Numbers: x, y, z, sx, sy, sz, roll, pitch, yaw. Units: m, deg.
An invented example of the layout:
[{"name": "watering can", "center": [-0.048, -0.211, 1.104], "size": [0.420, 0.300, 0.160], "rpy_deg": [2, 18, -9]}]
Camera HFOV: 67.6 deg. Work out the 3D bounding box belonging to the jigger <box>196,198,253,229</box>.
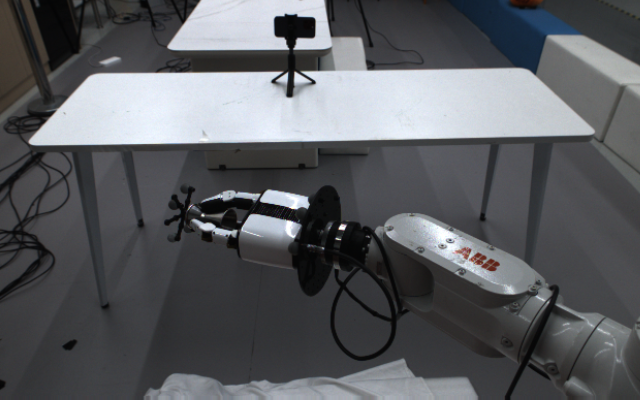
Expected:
[{"name": "jigger", "center": [-0.165, 0.028, 0.753], "size": [0.071, 0.043, 0.043], "rpy_deg": [10, 35, 21]}]
